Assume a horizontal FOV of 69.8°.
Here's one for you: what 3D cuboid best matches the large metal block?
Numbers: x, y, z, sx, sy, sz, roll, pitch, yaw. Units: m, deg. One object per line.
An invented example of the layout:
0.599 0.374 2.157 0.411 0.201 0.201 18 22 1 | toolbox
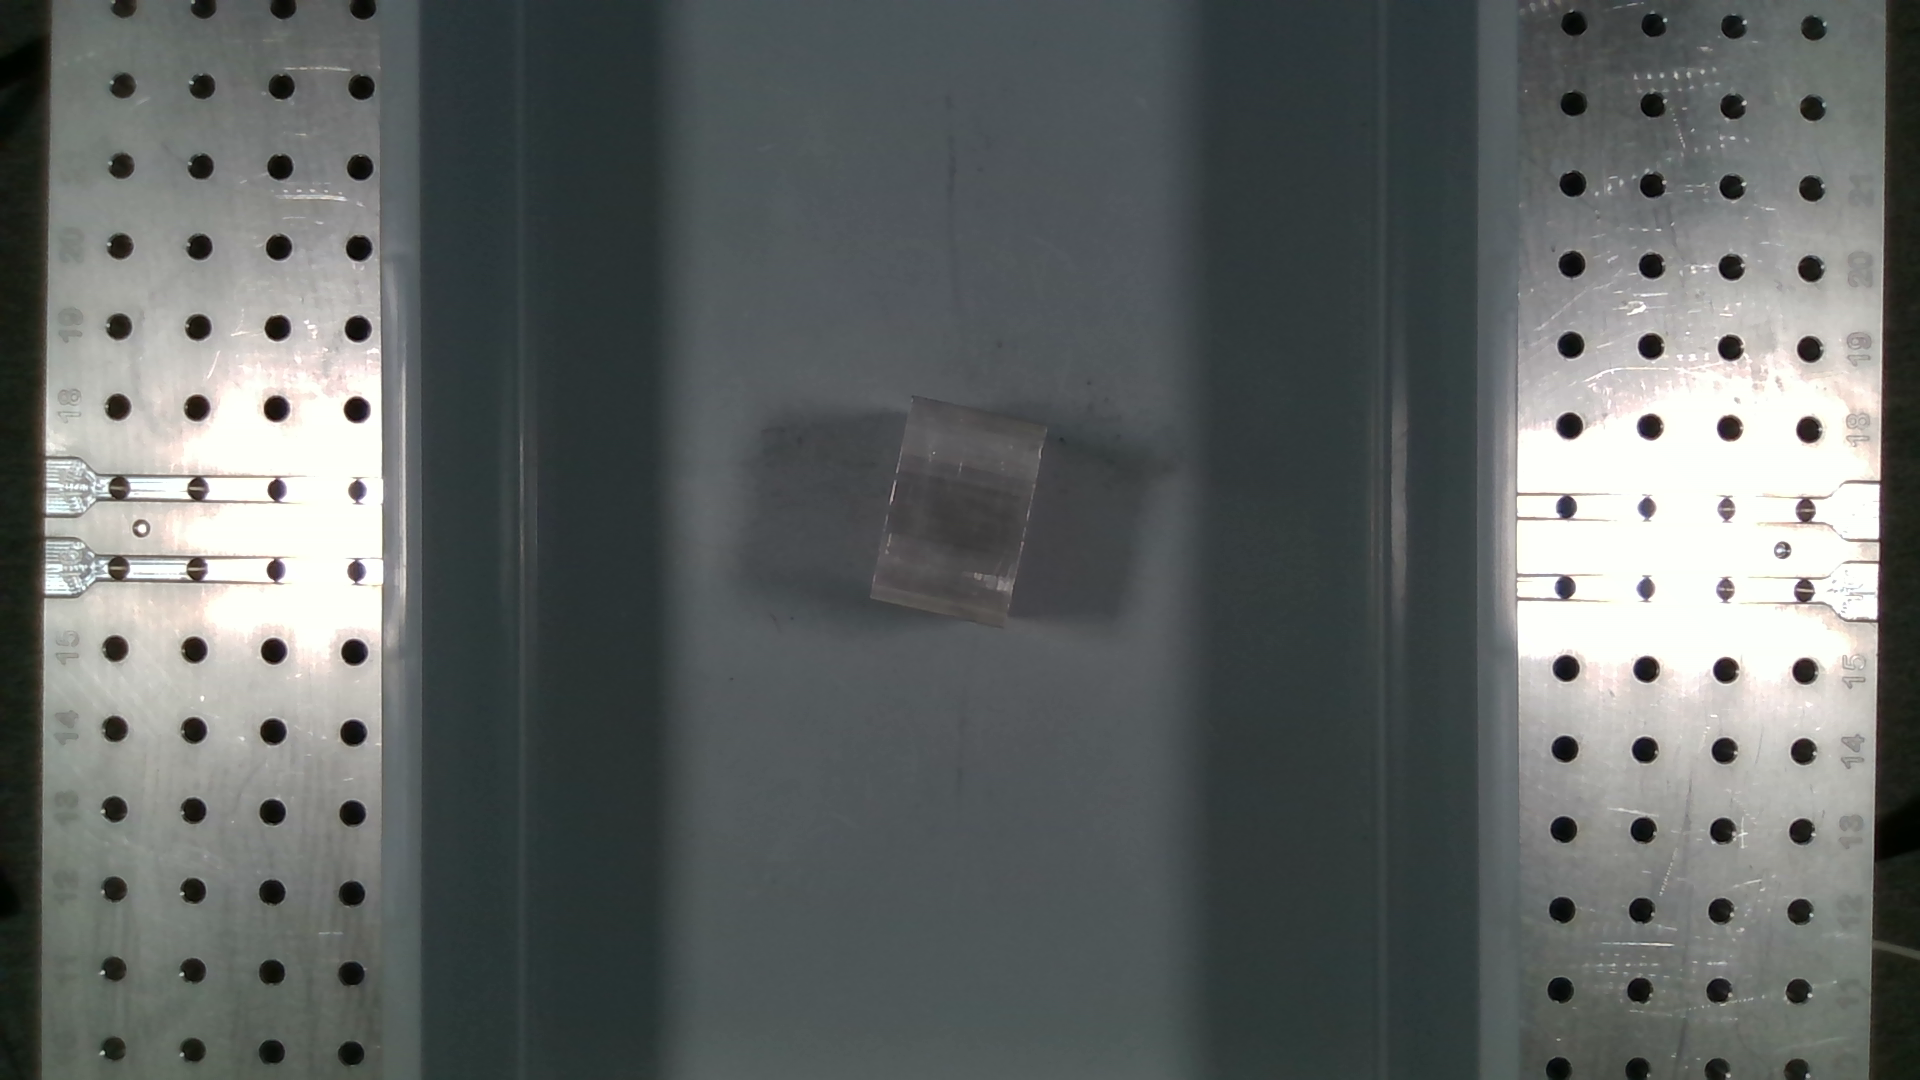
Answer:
-0.001 -0.010 0.557 0.050 0.080 0.080 12 90 0 | large metal block
